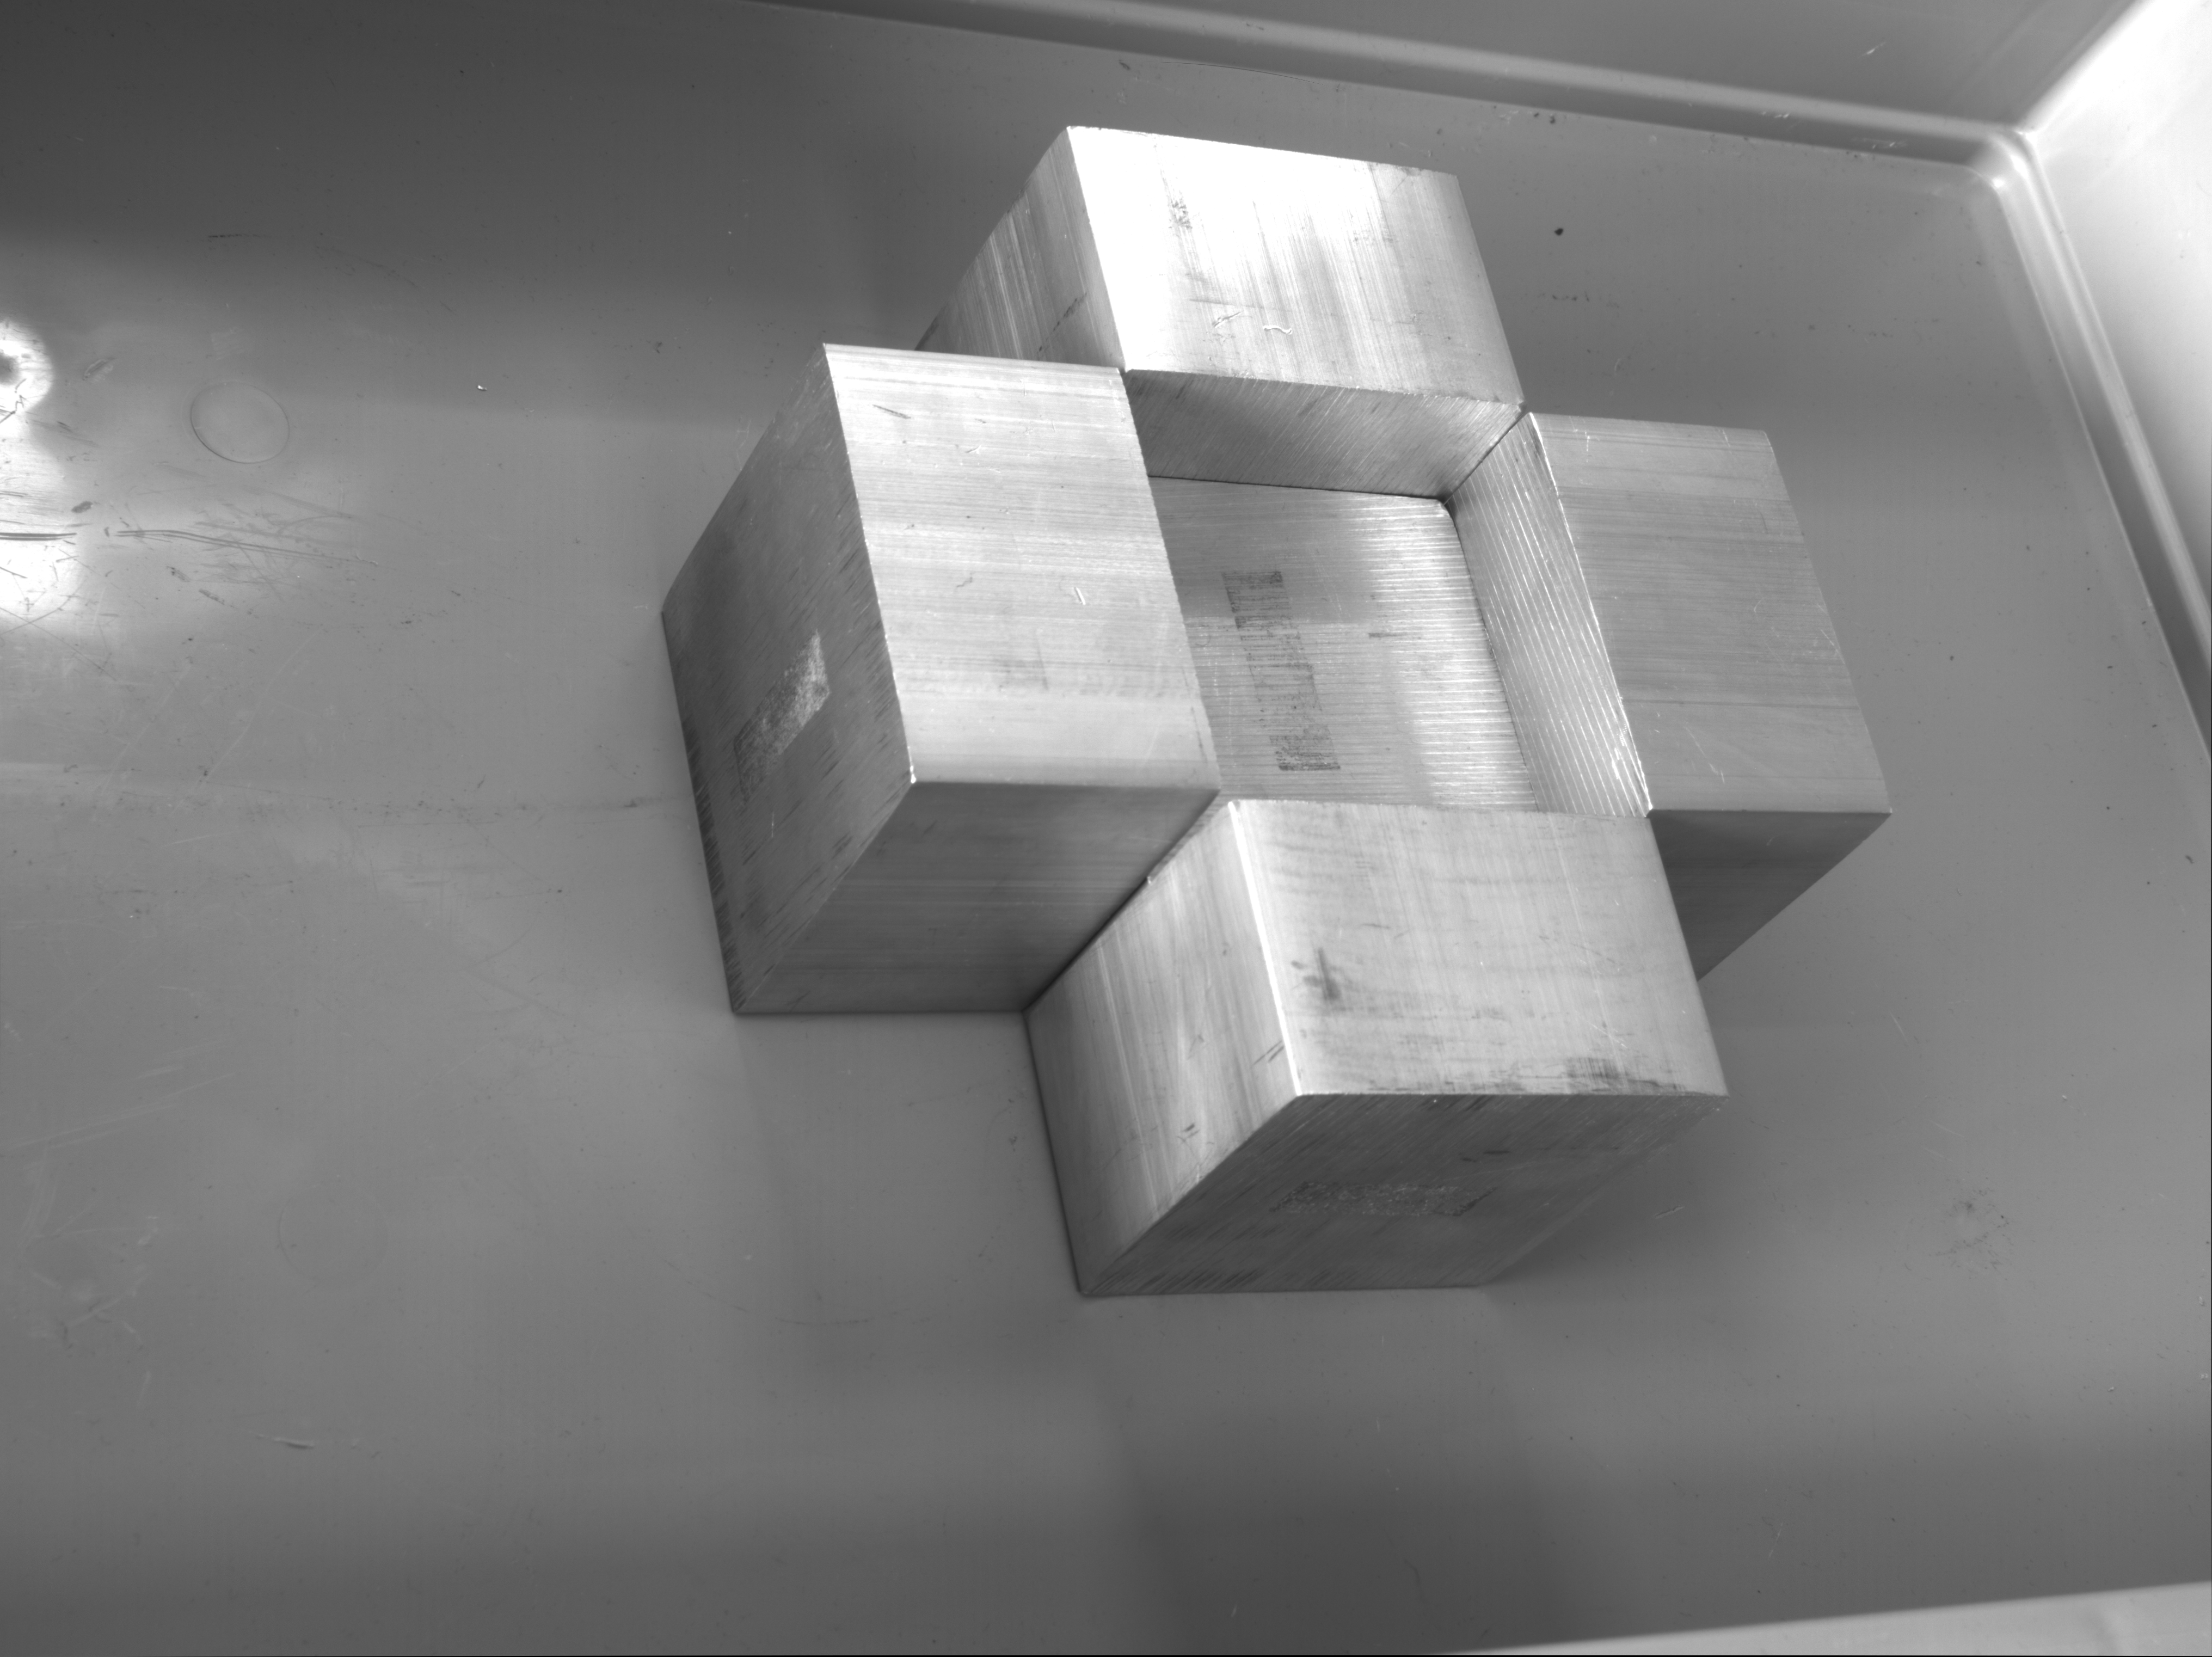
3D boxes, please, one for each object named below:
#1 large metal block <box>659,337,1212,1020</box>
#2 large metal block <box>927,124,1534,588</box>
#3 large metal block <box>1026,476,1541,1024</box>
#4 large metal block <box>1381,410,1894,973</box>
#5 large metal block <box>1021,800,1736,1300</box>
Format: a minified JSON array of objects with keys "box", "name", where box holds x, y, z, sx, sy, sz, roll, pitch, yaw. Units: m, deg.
[{"box":[-0.031,-0.022,0.600,0.050,0.080,0.080,1,61,-28],"name":"large metal block"},{"box":[0.017,-0.077,0.658,0.080,0.080,0.050,1,61,-28],"name":"large metal block"},{"box":[0.024,-0.013,0.641,0.080,0.050,0.080,1,61,-28],"name":"large metal block"},{"box":[0.087,-0.018,0.661,0.050,0.080,0.080,1,61,-28],"name":"large metal block"},{"box":[0.042,0.038,0.601,0.080,0.080,0.050,2,61,-27],"name":"large metal block"}]
